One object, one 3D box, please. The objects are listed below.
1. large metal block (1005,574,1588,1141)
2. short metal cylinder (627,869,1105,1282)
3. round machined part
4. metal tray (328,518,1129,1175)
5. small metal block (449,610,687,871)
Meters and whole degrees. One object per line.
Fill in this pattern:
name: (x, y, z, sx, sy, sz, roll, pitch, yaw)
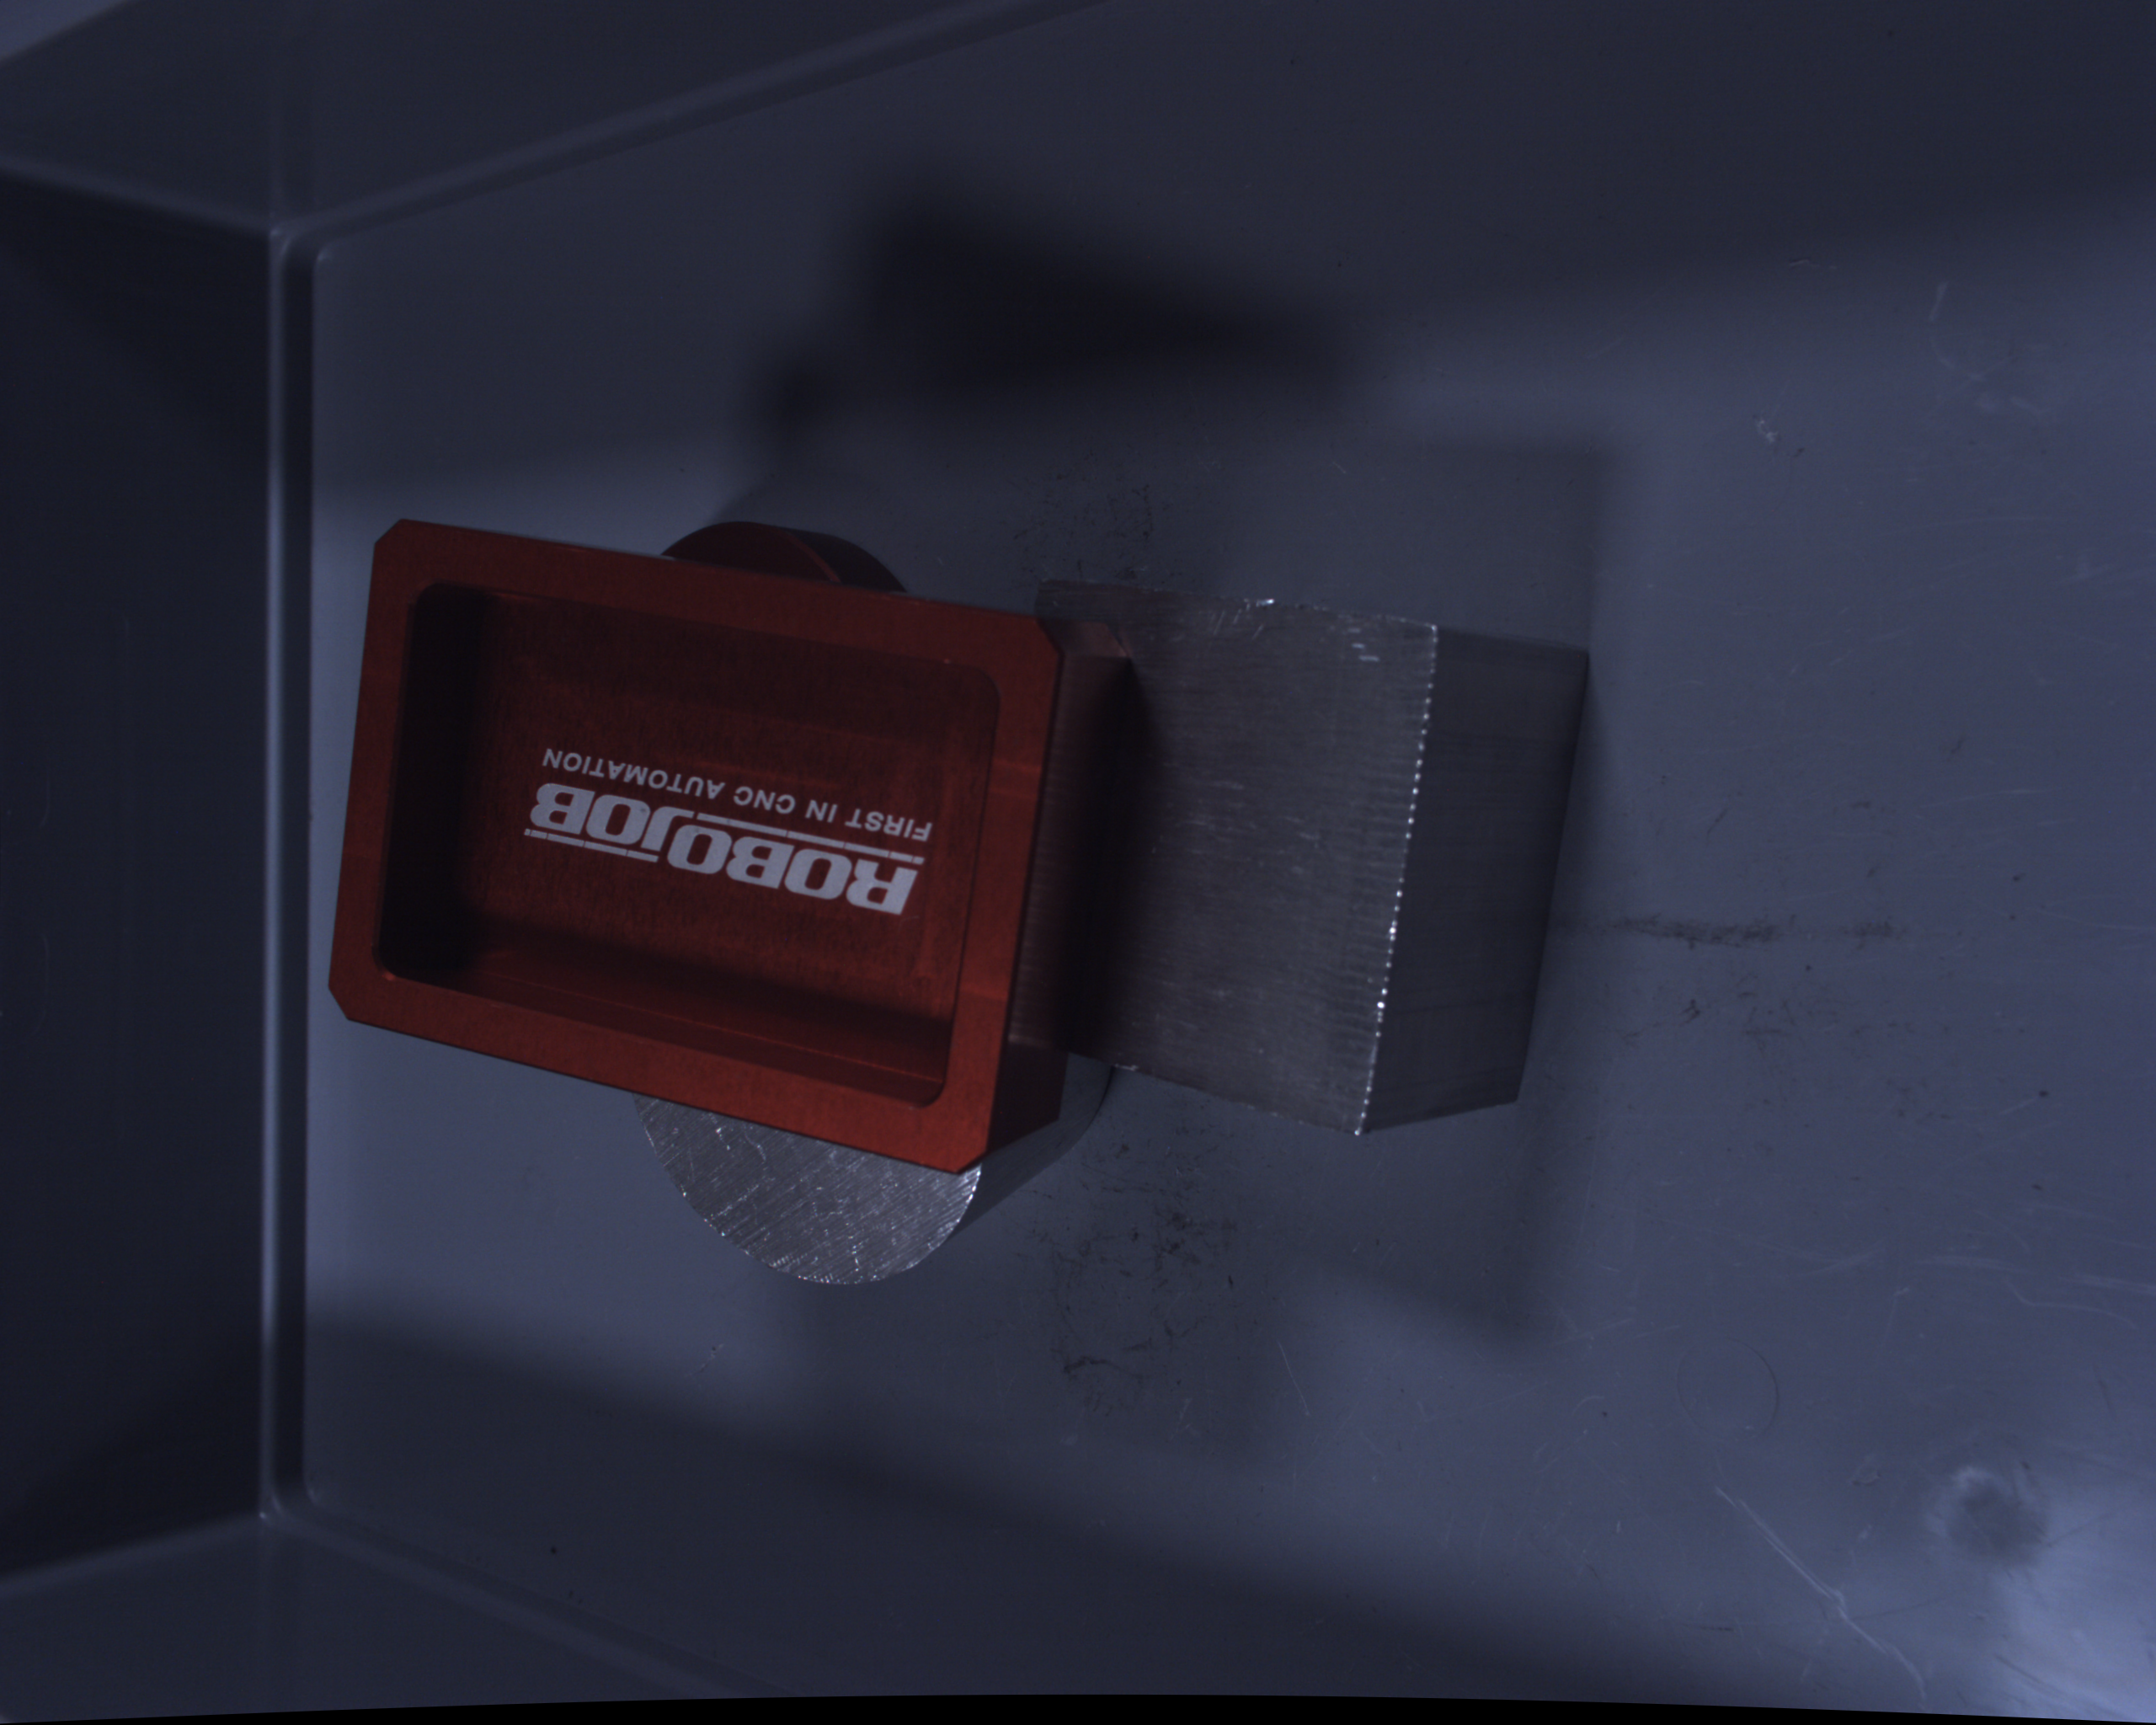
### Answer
large metal block: (0.033, -0.004, 0.358, 0.080, 0.050, 0.079, 13, 98, 39)
short metal cylinder: (-0.041, 0.034, 0.405, 0.080, 0.050, 0.079, 7, 106, 26)
round machined part: (-0.078, -0.026, 0.455, 0.098, 0.042, 0.097, 0, 90, 39)
metal tray: (-0.063, -0.006, 0.359, 0.130, 0.030, 0.089, 11, 97, 19)
small metal block: (-0.108, -0.025, 0.420, 0.025, 0.050, 0.050, 16, 100, 38)
